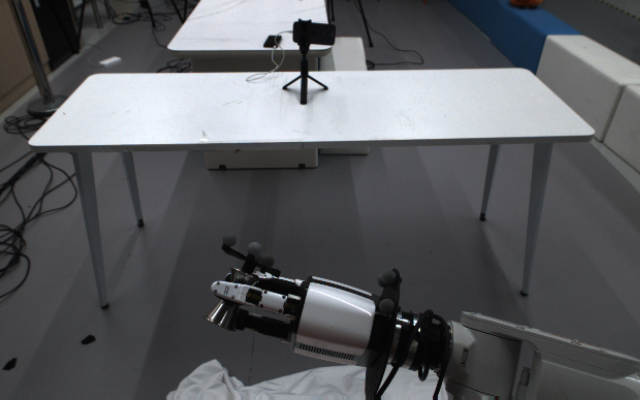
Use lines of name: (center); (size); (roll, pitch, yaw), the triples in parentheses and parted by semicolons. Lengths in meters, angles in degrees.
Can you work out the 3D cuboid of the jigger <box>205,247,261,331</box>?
jigger: (-0.107, 0.119, 0.589); (0.043, 0.043, 0.071); (20, 72, 24)
